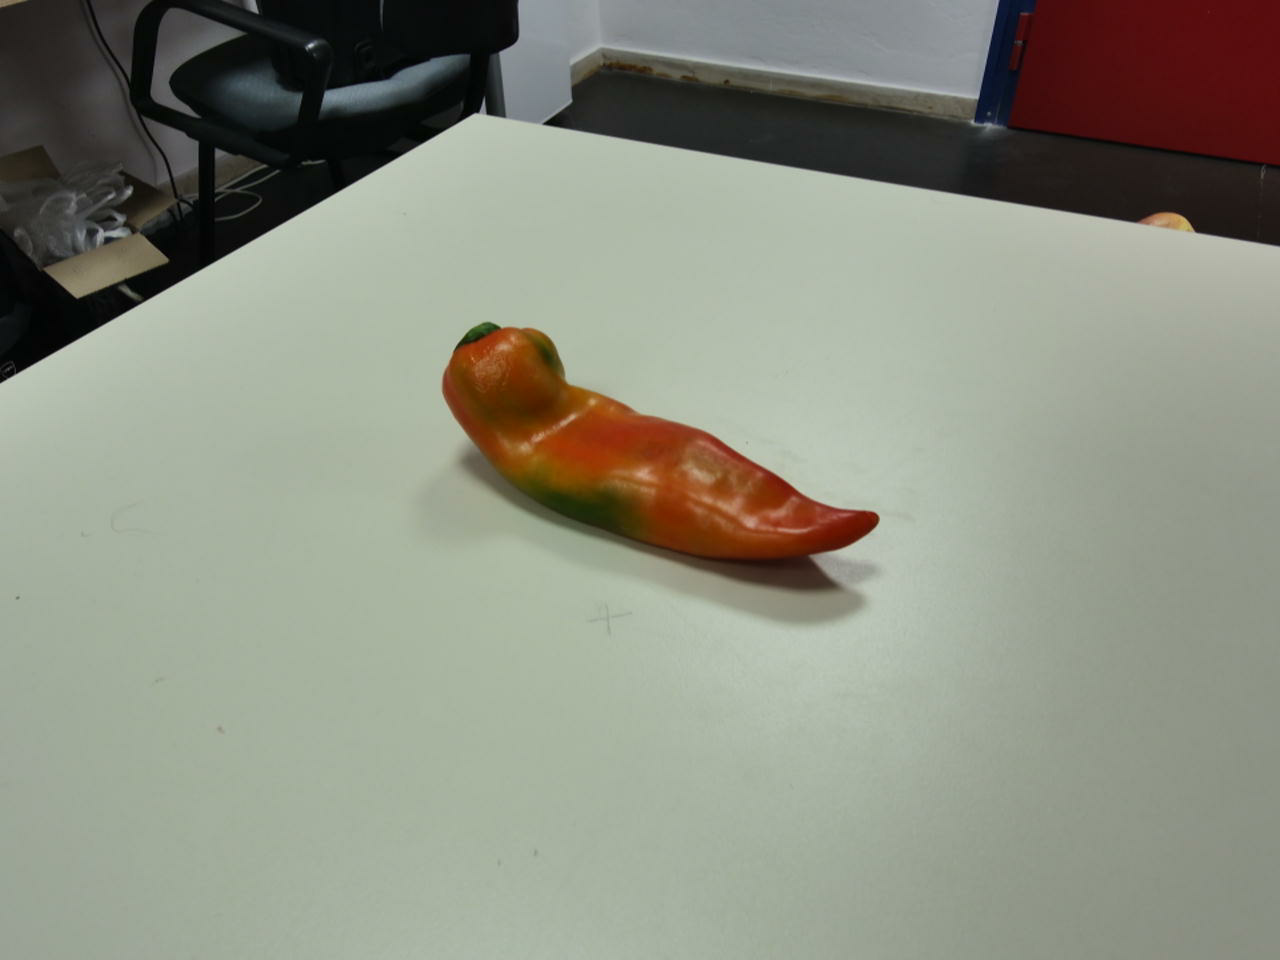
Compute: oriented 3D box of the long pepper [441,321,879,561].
[{"bbox_3d":[0.002,-0.015,0.417,0.199,0.065,0.066,21,42,25],"label":"long pepper"}]
